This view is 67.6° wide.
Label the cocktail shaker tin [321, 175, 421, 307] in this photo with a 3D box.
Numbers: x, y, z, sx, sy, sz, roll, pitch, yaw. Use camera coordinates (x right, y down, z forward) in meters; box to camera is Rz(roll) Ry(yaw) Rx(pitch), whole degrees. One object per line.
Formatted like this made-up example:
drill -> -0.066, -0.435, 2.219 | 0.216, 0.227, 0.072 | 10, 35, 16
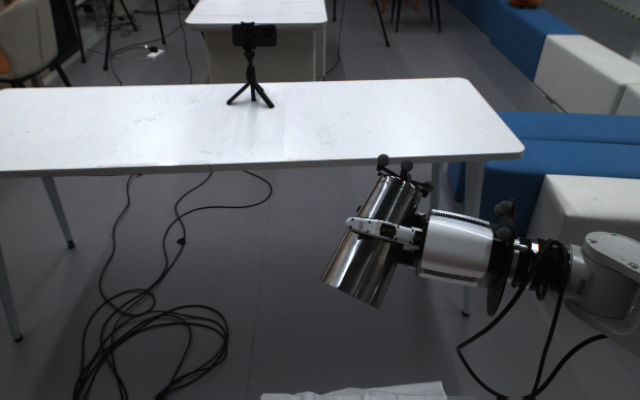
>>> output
cocktail shaker tin -> 0.079, 0.051, 0.673 | 0.093, 0.093, 0.170 | 21, 81, 25
